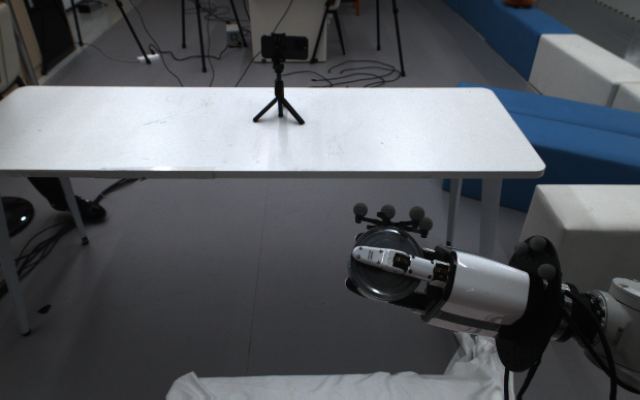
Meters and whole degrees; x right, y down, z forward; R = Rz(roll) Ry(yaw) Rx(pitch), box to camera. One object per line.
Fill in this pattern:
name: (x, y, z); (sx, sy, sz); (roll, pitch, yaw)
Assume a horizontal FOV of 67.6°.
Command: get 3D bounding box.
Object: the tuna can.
tuna can: (0.078, 0.071, 0.564); (0.085, 0.034, 0.085); (1, 73, -3)
